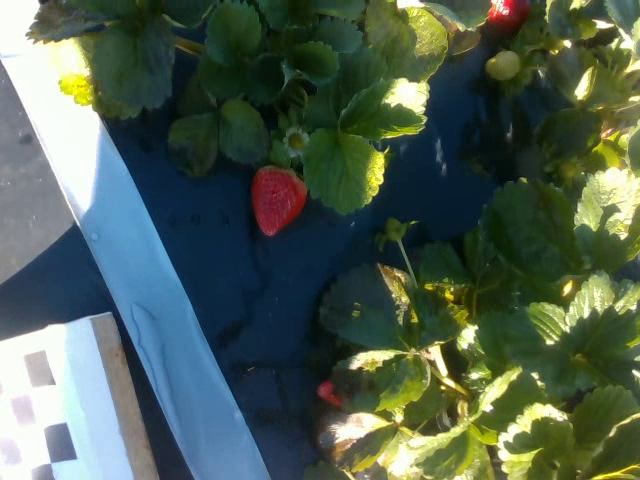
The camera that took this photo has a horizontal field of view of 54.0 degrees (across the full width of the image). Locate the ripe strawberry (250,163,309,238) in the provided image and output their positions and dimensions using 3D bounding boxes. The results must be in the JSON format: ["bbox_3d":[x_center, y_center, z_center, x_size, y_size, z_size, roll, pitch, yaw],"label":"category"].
[{"bbox_3d":[-0.031,-0.027,0.436,0.045,0.059,0.042,13,-9,22],"label":"ripe strawberry"}]
